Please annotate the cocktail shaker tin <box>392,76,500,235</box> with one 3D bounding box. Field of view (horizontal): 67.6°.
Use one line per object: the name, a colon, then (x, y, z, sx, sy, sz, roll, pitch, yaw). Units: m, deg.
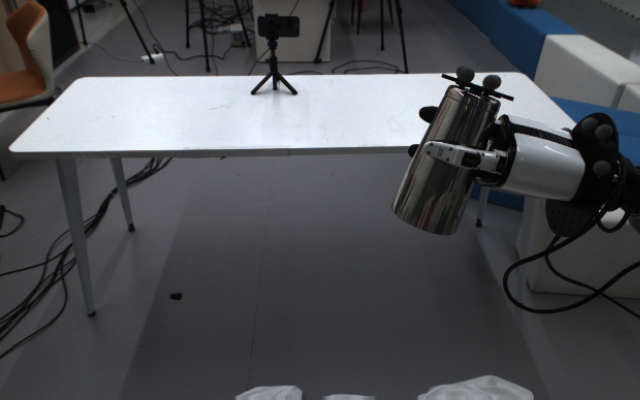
cocktail shaker tin: (0.163, -0.053, 0.614, 0.093, 0.170, 0.093, 16, 21, -6)
